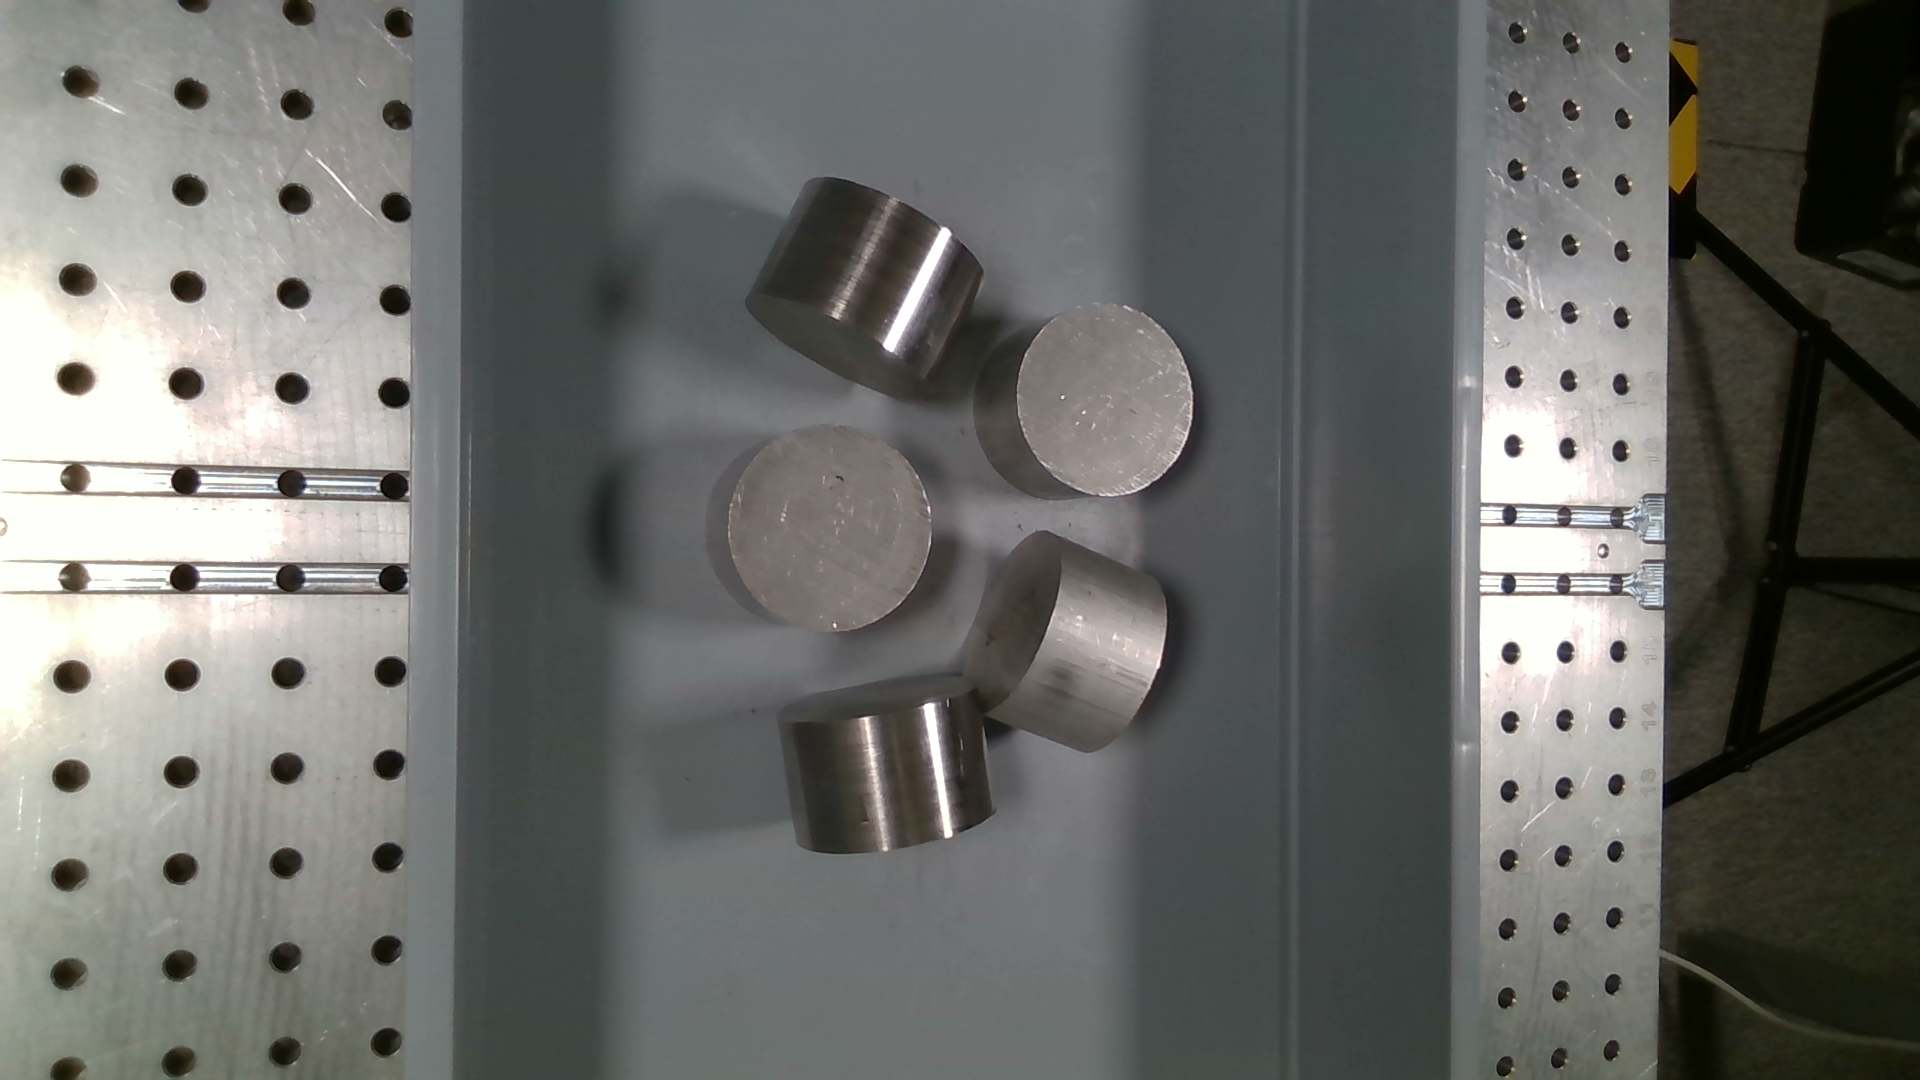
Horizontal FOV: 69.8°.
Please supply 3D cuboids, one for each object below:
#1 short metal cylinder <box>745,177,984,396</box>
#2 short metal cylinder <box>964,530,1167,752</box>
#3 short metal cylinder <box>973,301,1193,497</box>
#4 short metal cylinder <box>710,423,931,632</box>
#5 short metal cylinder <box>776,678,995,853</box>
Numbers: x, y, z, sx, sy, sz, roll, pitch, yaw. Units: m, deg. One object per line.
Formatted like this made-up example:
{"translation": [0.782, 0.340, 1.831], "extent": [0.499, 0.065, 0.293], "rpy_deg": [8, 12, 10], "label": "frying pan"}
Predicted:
{"translation": [-0.037, -0.098, 0.540], "extent": [0.080, 0.080, 0.050], "rpy_deg": [28, 80, -18], "label": "short metal cylinder"}
{"translation": [0.042, 0.042, 0.573], "extent": [0.050, 0.080, 0.080], "rpy_deg": [23, 82, -19], "label": "short metal cylinder"}
{"translation": [0.052, -0.058, 0.590], "extent": [0.080, 0.050, 0.080], "rpy_deg": [0, 90, -20], "label": "short metal cylinder"}
{"translation": [-0.058, -0.005, 0.550], "extent": [0.080, 0.050, 0.080], "rpy_deg": [0, 90, -20], "label": "short metal cylinder"}
{"translation": [-0.029, 0.087, 0.545], "extent": [0.080, 0.080, 0.050], "rpy_deg": [-10, 93, -20], "label": "short metal cylinder"}
